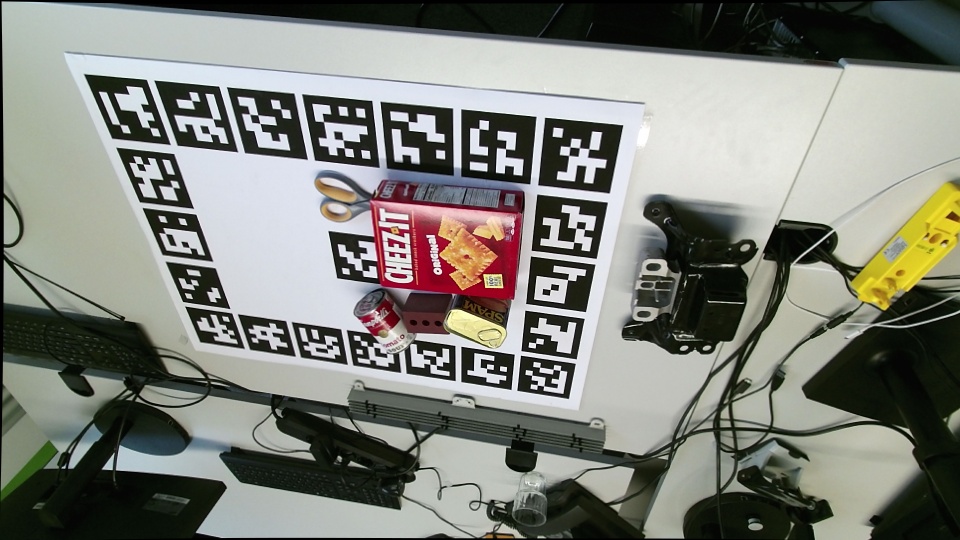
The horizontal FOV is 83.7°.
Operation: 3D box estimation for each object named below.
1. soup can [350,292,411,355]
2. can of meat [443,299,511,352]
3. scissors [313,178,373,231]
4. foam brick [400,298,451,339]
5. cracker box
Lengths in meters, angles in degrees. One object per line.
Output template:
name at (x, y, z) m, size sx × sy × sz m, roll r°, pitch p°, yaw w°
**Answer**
soup can at (-0.176, 0.097, 0.958) m, size 0.068 × 0.067 × 0.102 m, roll -26°, pitch 121°, yaw 26°
can of meat at (-0.001, 0.081, 0.890) m, size 0.102 × 0.083 × 0.058 m, roll 19°, pitch 125°, yaw -1°
scissors at (-0.155, -0.098, 0.827) m, size 0.203 × 0.016 × 0.088 m, roll 3°, pitch 124°, yaw 9°
foam brick at (-0.093, 0.084, 0.934) m, size 0.078 × 0.051 × 0.053 m, roll -1°, pitch 123°, yaw 12°
cracker box at (-0.048, -0.037, 0.809) m, size 0.214 × 0.072 × 0.164 m, roll 1°, pitch 125°, yaw 6°
